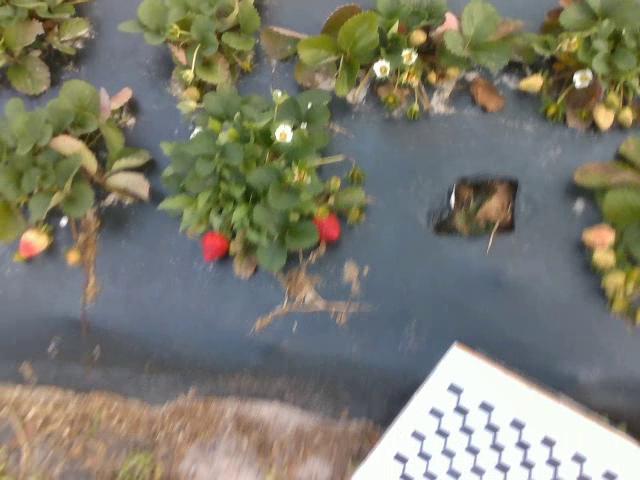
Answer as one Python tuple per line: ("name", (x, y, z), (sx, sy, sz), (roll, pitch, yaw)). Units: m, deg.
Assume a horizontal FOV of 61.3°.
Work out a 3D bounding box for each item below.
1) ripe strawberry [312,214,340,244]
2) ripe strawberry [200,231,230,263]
("ripe strawberry", (0.007, -0.010, 0.725), (0.046, 0.043, 0.046), (38, 12, 33))
("ripe strawberry", (-0.153, 0.016, 0.737), (0.043, 0.051, 0.043), (18, -17, 7))
